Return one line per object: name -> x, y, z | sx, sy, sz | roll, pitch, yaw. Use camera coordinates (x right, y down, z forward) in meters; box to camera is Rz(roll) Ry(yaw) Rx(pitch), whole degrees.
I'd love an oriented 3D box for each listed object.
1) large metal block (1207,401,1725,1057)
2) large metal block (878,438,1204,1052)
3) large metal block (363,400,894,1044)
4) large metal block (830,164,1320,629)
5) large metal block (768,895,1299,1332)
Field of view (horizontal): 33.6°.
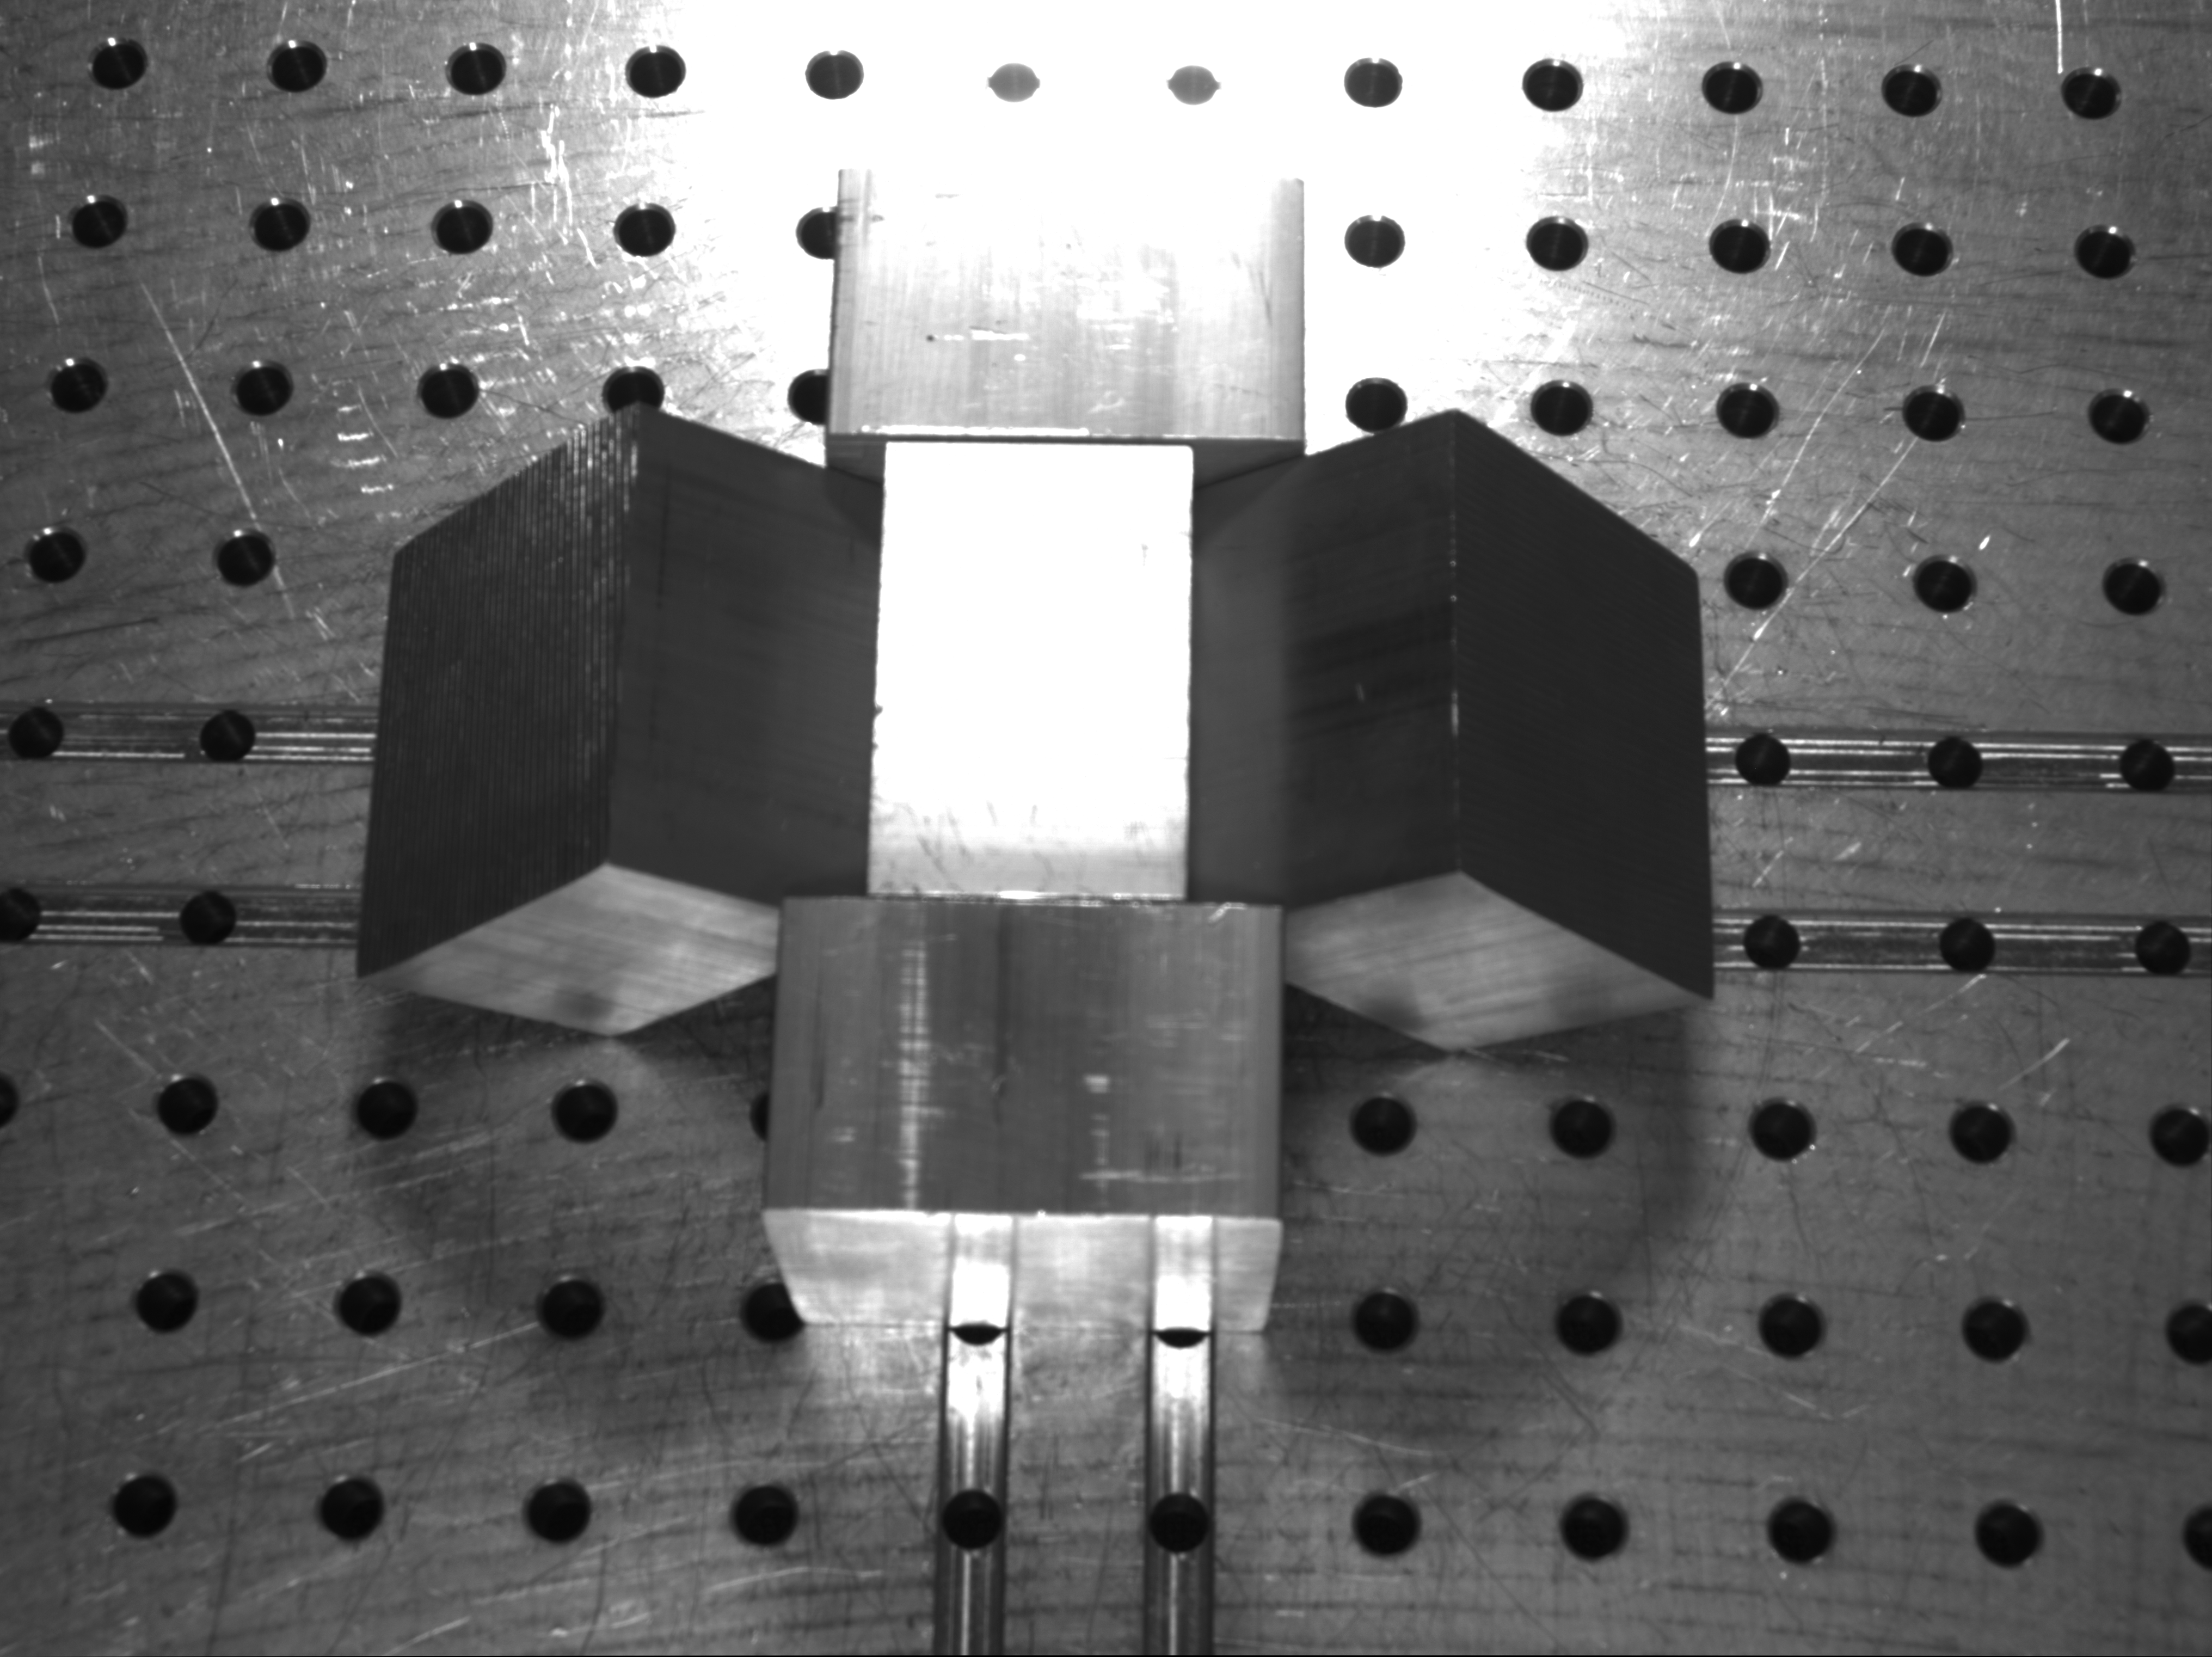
large metal block -> 0.061, -0.014, 0.614 | 0.050, 0.080, 0.080 | -14, 64, 35
large metal block -> -0.010, -0.012, 0.621 | 0.050, 0.080, 0.080 | 1, 70, 1
large metal block -> -0.080, -0.015, 0.617 | 0.050, 0.080, 0.080 | 16, 65, -36
large metal block -> -0.004, -0.074, 0.644 | 0.080, 0.080, 0.050 | 1, 70, 0
large metal block -> -0.010, 0.048, 0.599 | 0.080, 0.080, 0.050 | 1, 70, 0
